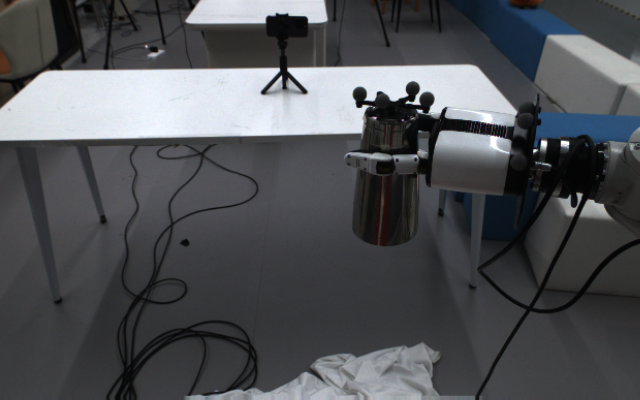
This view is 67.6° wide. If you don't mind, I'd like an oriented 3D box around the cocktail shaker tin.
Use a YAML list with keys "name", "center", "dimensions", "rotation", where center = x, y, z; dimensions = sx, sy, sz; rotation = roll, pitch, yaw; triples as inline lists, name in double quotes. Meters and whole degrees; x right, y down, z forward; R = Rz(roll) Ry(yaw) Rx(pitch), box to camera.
- name: "cocktail shaker tin"
  center: [0.093, -0.039, 0.635]
  dimensions: [0.093, 0.170, 0.093]
  rotation: [-1, 32, 1]
